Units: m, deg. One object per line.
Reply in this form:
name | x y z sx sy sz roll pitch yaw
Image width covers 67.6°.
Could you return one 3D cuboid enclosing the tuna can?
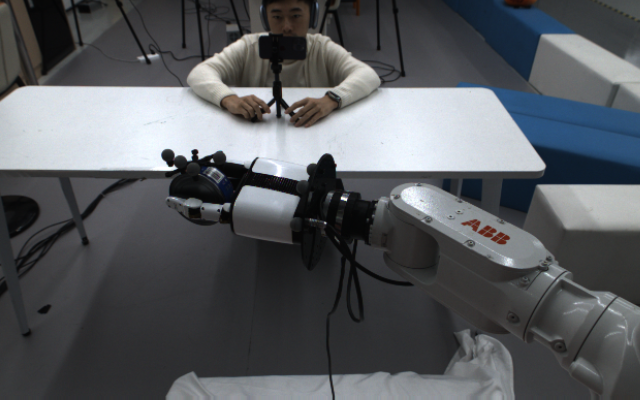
tuna can | -0.165 -0.008 0.681 0.085 0.085 0.034 11 33 13
